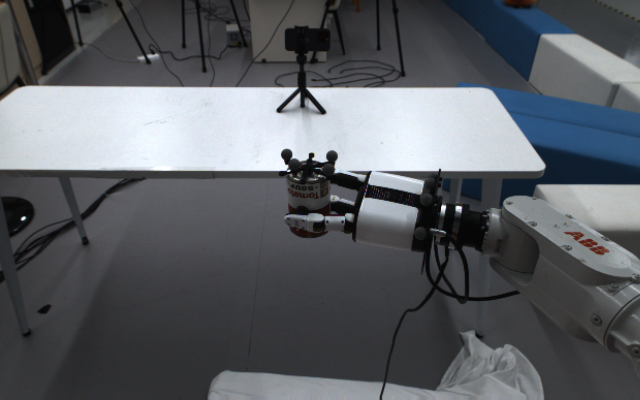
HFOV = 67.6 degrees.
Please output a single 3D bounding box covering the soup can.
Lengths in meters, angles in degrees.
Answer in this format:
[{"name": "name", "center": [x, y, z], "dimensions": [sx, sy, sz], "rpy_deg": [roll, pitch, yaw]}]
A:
[{"name": "soup can", "center": [-0.015, -0.002, 0.747], "dimensions": [0.067, 0.101, 0.067], "rpy_deg": [-2, 34, 1]}]
